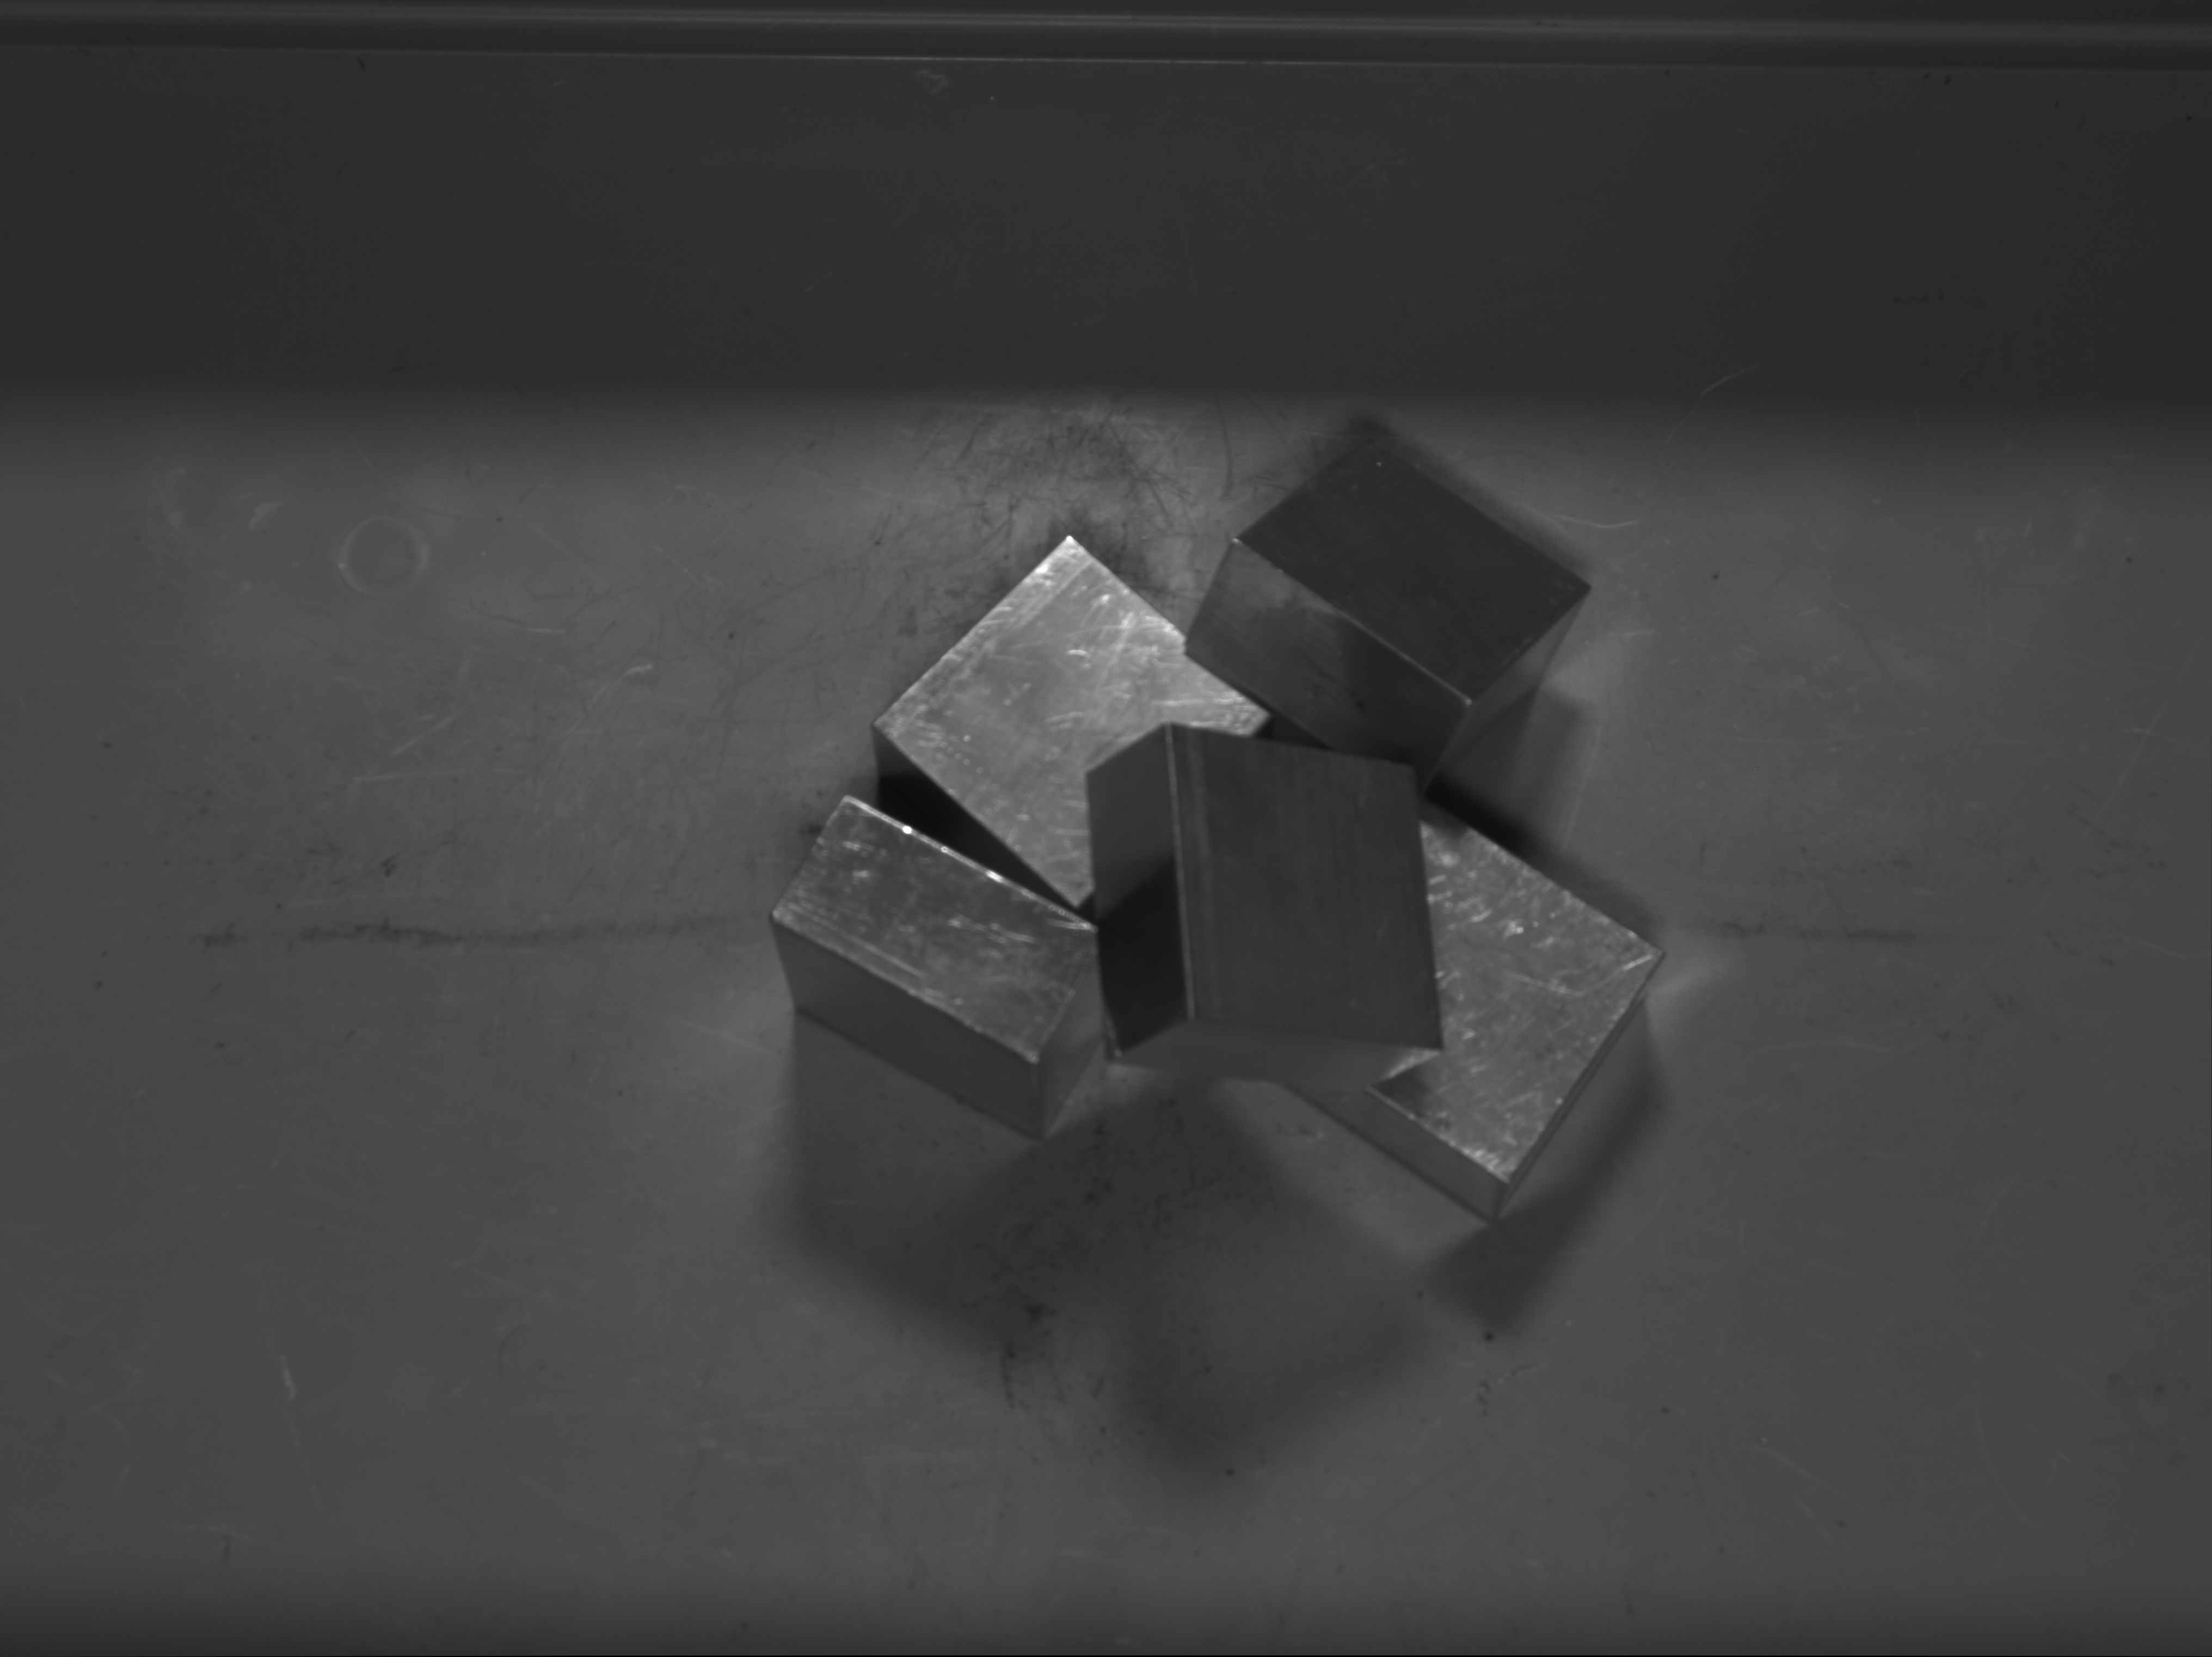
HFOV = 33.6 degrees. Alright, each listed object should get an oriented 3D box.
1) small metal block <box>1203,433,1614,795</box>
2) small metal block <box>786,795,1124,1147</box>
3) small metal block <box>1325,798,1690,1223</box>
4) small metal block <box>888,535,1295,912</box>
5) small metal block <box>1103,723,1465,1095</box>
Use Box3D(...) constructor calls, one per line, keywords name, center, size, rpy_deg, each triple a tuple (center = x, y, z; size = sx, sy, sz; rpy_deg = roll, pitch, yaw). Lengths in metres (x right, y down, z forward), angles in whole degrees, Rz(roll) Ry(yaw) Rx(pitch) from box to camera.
Box3D(name="small metal block", center=(0.054, -0.038, 0.646), size=(0.050, 0.025, 0.050), rpy_deg=(35, 41, 12))
Box3D(name="small metal block", center=(-0.024, 0.025, 0.620), size=(0.050, 0.050, 0.025), rpy_deg=(28, 72, 10))
Box3D(name="small metal block", center=(0.064, 0.031, 0.632), size=(0.050, 0.025, 0.050), rpy_deg=(34, 73, 11))
Box3D(name="small metal block", center=(-0.002, -0.015, 0.648), size=(0.050, 0.025, 0.050), rpy_deg=(42, 75, 14))
Box3D(name="small metal block", center=(0.029, 0.014, 0.600), size=(0.050, 0.025, 0.050), rpy_deg=(9, 66, -31))
